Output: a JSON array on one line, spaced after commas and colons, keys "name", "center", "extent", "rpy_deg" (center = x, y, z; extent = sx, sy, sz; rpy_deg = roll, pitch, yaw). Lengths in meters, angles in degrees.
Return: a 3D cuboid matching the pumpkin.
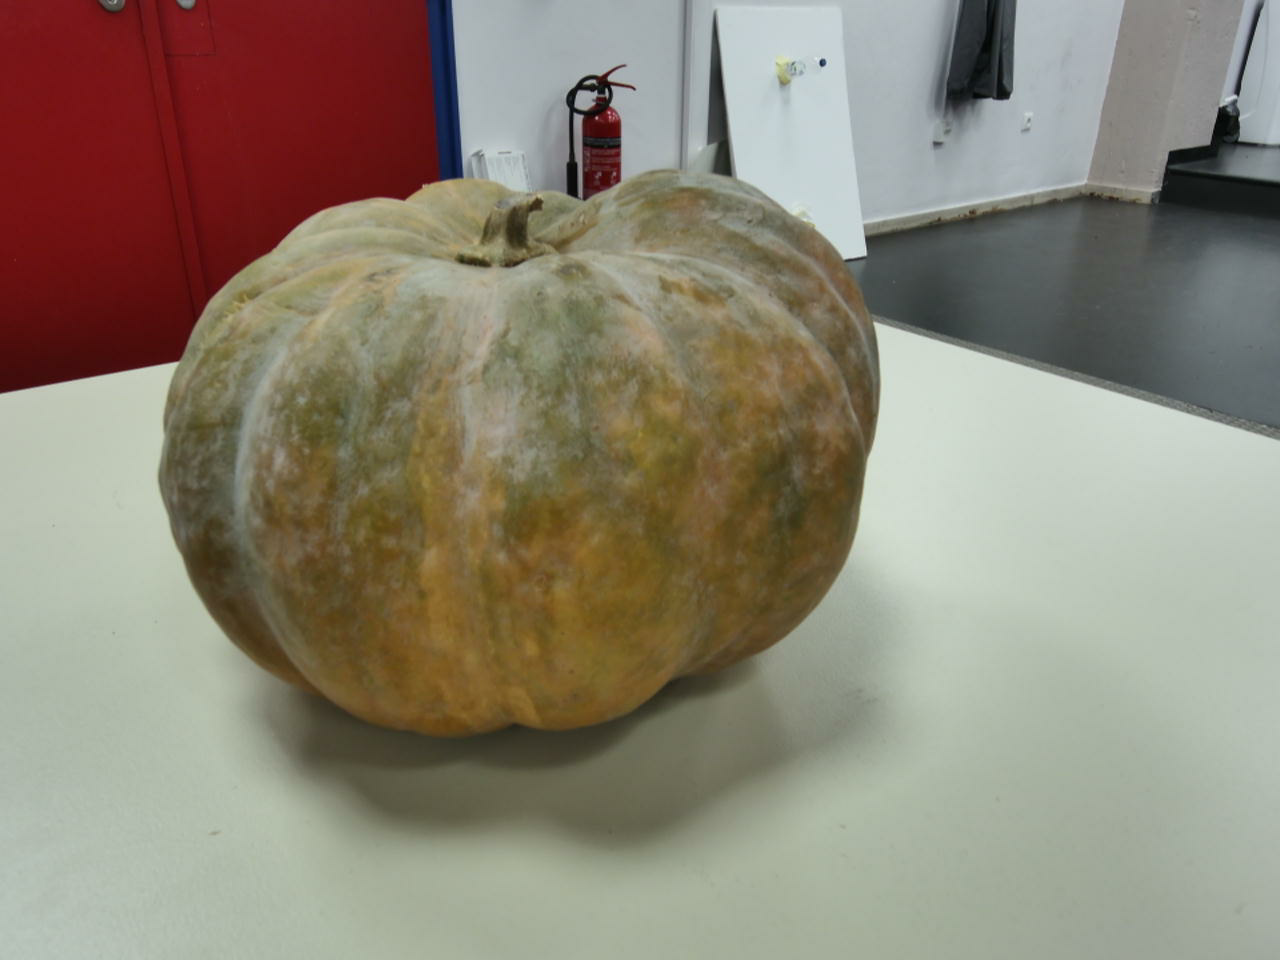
[{"name": "pumpkin", "center": [-0.040, -0.019, 0.358], "extent": [0.252, 0.169, 0.251], "rpy_deg": [0, 24, 0]}]
